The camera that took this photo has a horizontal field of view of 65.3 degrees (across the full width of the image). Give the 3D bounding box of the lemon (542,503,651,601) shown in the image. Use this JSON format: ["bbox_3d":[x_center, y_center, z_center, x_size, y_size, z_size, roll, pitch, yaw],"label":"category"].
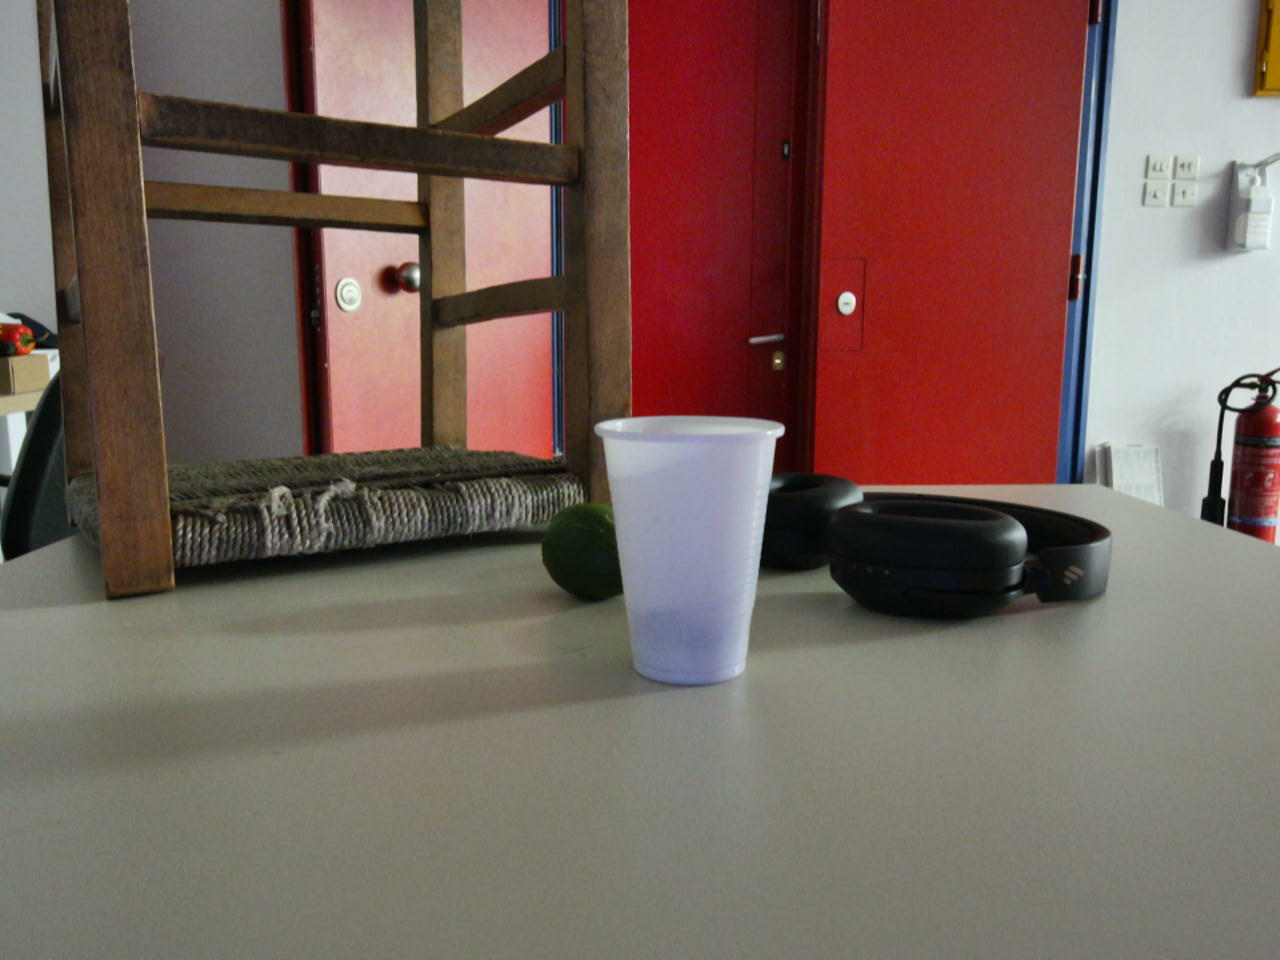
[{"bbox_3d":[-0.024,0.038,0.537,0.057,0.051,0.054,-1,7,-4],"label":"lemon"}]
